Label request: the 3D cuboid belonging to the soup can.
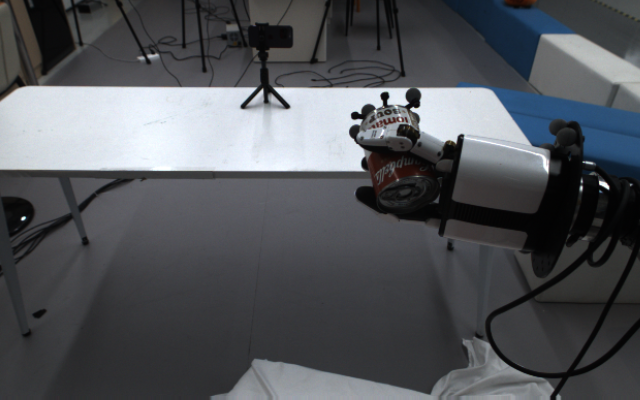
[{"bbox_3d":[0.088,-0.047,0.532,0.067,0.067,0.101,-6,57,-11],"label":"soup can"}]
